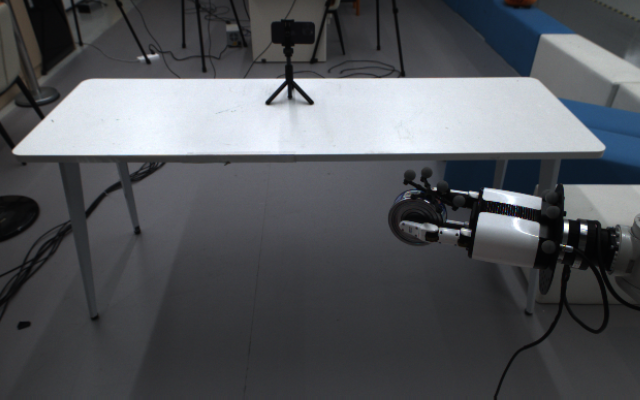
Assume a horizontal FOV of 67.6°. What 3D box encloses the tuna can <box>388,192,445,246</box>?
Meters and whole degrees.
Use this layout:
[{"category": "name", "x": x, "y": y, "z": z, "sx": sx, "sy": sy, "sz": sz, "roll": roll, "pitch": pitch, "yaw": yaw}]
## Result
[{"category": "tuna can", "x": 0.152, "y": 0.033, "z": 0.738, "sx": 0.085, "sy": 0.085, "sz": 0.034, "roll": 15, "pitch": 31, "yaw": 18}]
